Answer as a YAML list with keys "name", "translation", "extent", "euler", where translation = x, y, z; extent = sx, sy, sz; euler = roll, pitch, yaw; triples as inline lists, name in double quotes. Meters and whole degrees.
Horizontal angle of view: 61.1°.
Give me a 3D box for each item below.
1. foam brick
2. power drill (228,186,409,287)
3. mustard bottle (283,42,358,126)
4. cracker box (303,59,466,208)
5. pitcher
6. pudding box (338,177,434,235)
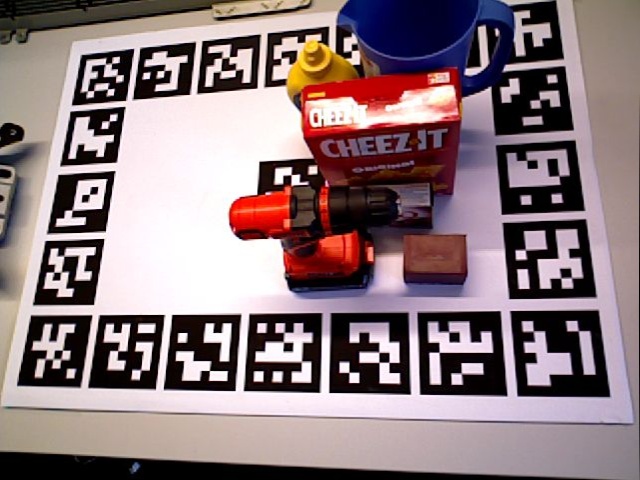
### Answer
- name: "foam brick"
  translation: [0.143, 0.030, 0.675]
  extent: [0.078, 0.051, 0.052]
  euler: [1, 74, 12]
- name: "power drill"
  translation: [0.008, -0.002, 0.604]
  extent: [0.185, 0.188, 0.057]
  euler: [-2, 68, 10]
- name: "mustard bottle"
  translation: [0.003, -0.197, 0.687]
  extent: [0.096, 0.192, 0.058]
  euler: [12, 75, 14]
- name: "cracker box"
  translation: [0.083, -0.104, 0.635]
  extent: [0.165, 0.215, 0.071]
  euler: [-4, 69, 12]
- name: "pitcher"
  translation: [0.131, -0.204, 0.650]
  extent: [0.189, 0.244, 0.132]
  euler: [4, 73, 14]
- name: "pudding box"
  translation: [0.083, -0.040, 0.674]
  extent: [0.114, 0.090, 0.038]
  euler: [-1, 70, 14]
